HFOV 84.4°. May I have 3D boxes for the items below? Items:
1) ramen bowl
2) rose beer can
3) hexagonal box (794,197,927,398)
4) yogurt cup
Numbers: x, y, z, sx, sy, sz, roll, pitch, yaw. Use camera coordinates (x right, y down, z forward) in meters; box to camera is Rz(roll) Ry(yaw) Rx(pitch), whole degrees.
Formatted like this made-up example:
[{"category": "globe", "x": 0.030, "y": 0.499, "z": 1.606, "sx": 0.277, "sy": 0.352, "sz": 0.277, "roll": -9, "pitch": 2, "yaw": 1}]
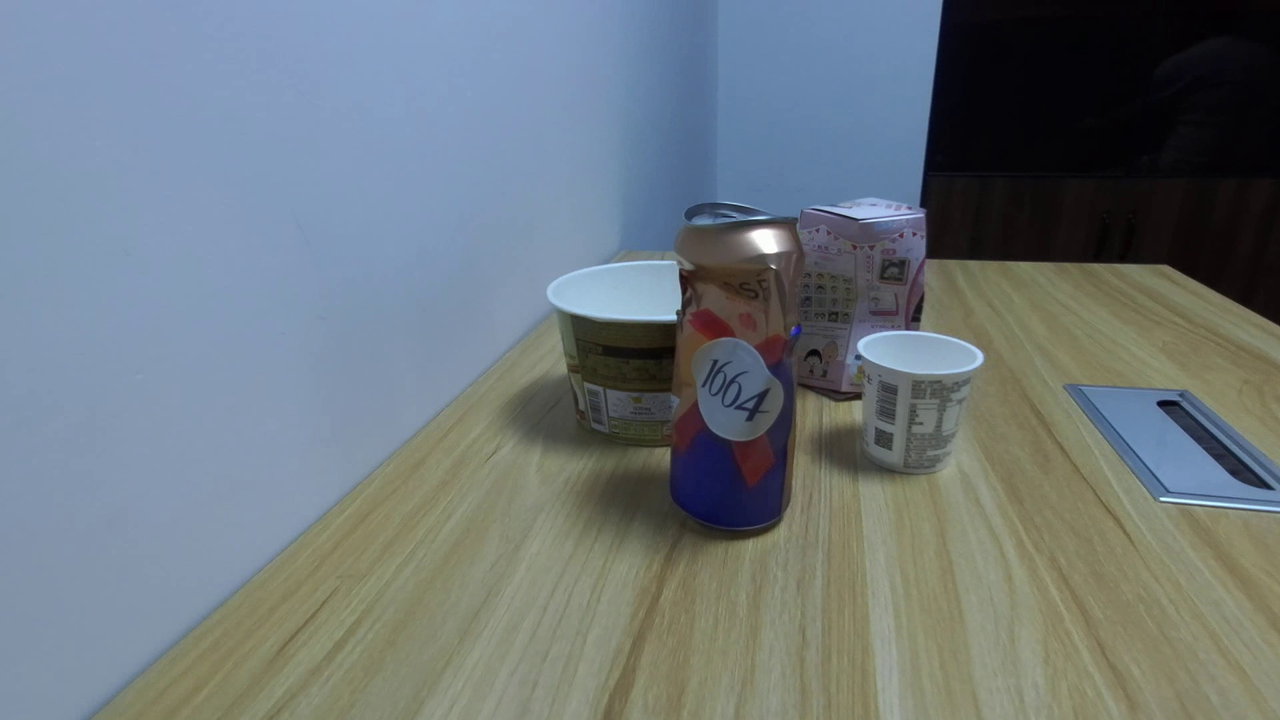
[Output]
[{"category": "ramen bowl", "x": 0.011, "y": -0.007, "z": 0.483, "sx": 0.140, "sy": 0.095, "sz": 0.140, "roll": -2, "pitch": 21, "yaw": 1}, {"category": "rose beer can", "x": 0.047, "y": 0.006, "z": 0.359, "sx": 0.073, "sy": 0.162, "sz": 0.068, "roll": 9, "pitch": 22, "yaw": 21}, {"category": "hexagonal box", "x": 0.160, "y": -0.045, "z": 0.519, "sx": 0.093, "sy": 0.134, "sz": 0.088, "roll": -6, "pitch": 23, "yaw": -14}, {"category": "yogurt cup", "x": 0.163, "y": 0.026, "z": 0.423, "sx": 0.072, "sy": 0.068, "sz": 0.072, "roll": -1, "pitch": 23, "yaw": 1}]
